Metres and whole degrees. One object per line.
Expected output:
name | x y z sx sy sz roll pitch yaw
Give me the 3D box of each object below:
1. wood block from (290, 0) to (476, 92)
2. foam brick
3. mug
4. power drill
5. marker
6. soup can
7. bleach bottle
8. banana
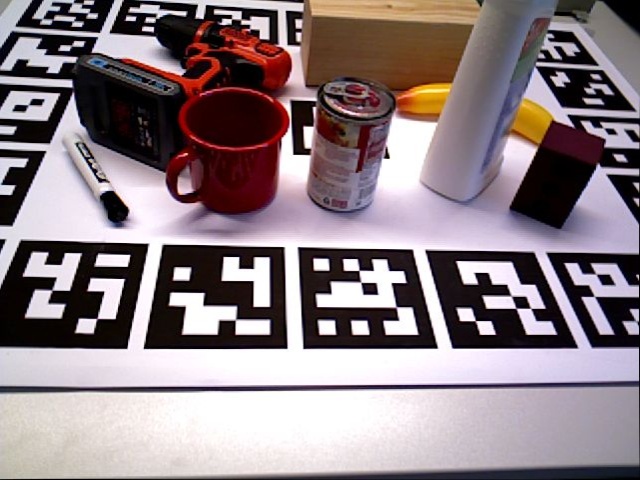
wood block | 0.072 -0.234 0.641 0.204 0.093 0.088 0 48 -8
foam brick | 0.217 -0.056 0.503 0.053 0.080 0.050 25 46 17
mug | -0.091 -0.072 0.467 0.093 0.083 0.114 35 54 20
power drill | -0.154 -0.166 0.571 0.184 0.059 0.182 24 47 9
marker | -0.208 -0.048 0.475 0.019 0.020 0.120 -25 56 -26
soup can | 0.017 -0.085 0.473 0.067 0.104 0.067 5 42 -6
bleach bottle | 0.145 -0.152 0.459 0.068 0.257 0.100 22 46 12
banana | 0.157 -0.154 0.608 0.197 0.039 0.073 14 60 1
